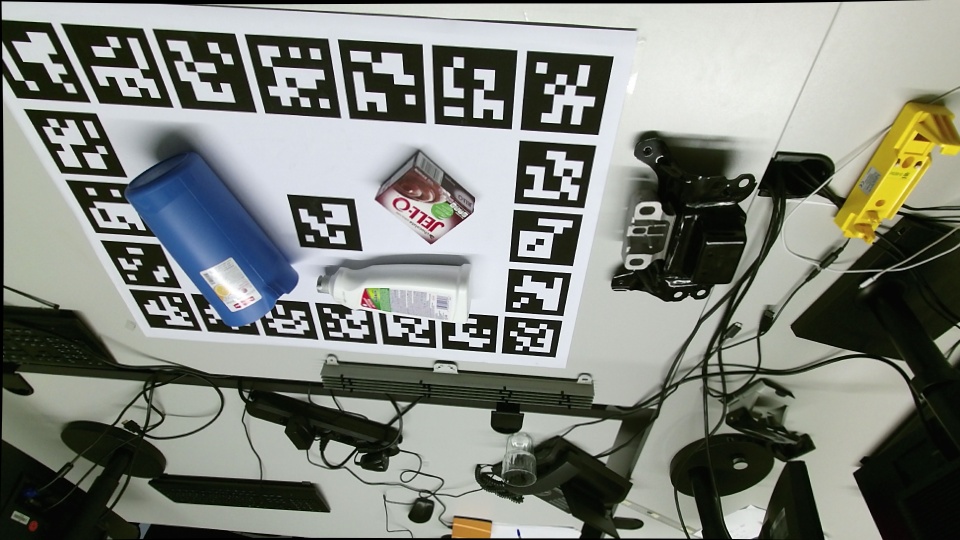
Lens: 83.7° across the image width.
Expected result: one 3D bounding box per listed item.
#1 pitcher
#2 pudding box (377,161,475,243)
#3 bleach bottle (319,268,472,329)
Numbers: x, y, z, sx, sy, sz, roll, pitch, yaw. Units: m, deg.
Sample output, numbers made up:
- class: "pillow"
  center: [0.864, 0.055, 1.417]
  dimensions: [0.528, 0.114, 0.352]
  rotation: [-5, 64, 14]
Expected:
- class: "pitcher"
  center: [-0.401, -0.045, 0.811]
  dimensions: [0.189, 0.133, 0.243]
  rotation: [9, 135, 45]
- class: "pudding box"
  center: [-0.077, -0.091, 0.773]
  dimensions: [0.090, 0.038, 0.114]
  rotation: [-31, 119, 34]
- class: "bleach bottle"
  center: [-0.142, 0.043, 0.882]
  dimensions: [0.252, 0.067, 0.102]
  rotation: [2, 126, 6]
